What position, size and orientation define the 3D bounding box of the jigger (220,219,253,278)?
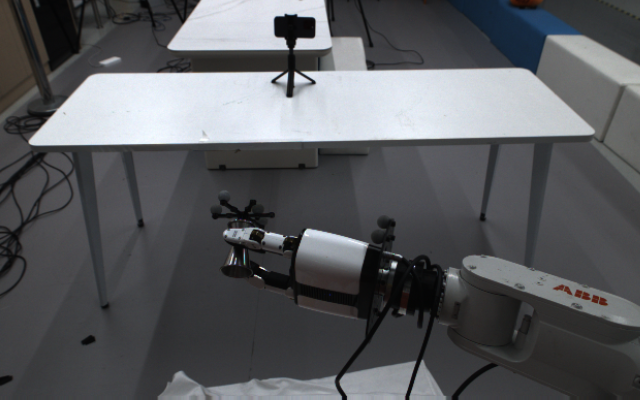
[{"bbox_3d":[-0.108,0.063,0.648,0.043,0.043,0.071,2,59,0],"label":"jigger"}]
